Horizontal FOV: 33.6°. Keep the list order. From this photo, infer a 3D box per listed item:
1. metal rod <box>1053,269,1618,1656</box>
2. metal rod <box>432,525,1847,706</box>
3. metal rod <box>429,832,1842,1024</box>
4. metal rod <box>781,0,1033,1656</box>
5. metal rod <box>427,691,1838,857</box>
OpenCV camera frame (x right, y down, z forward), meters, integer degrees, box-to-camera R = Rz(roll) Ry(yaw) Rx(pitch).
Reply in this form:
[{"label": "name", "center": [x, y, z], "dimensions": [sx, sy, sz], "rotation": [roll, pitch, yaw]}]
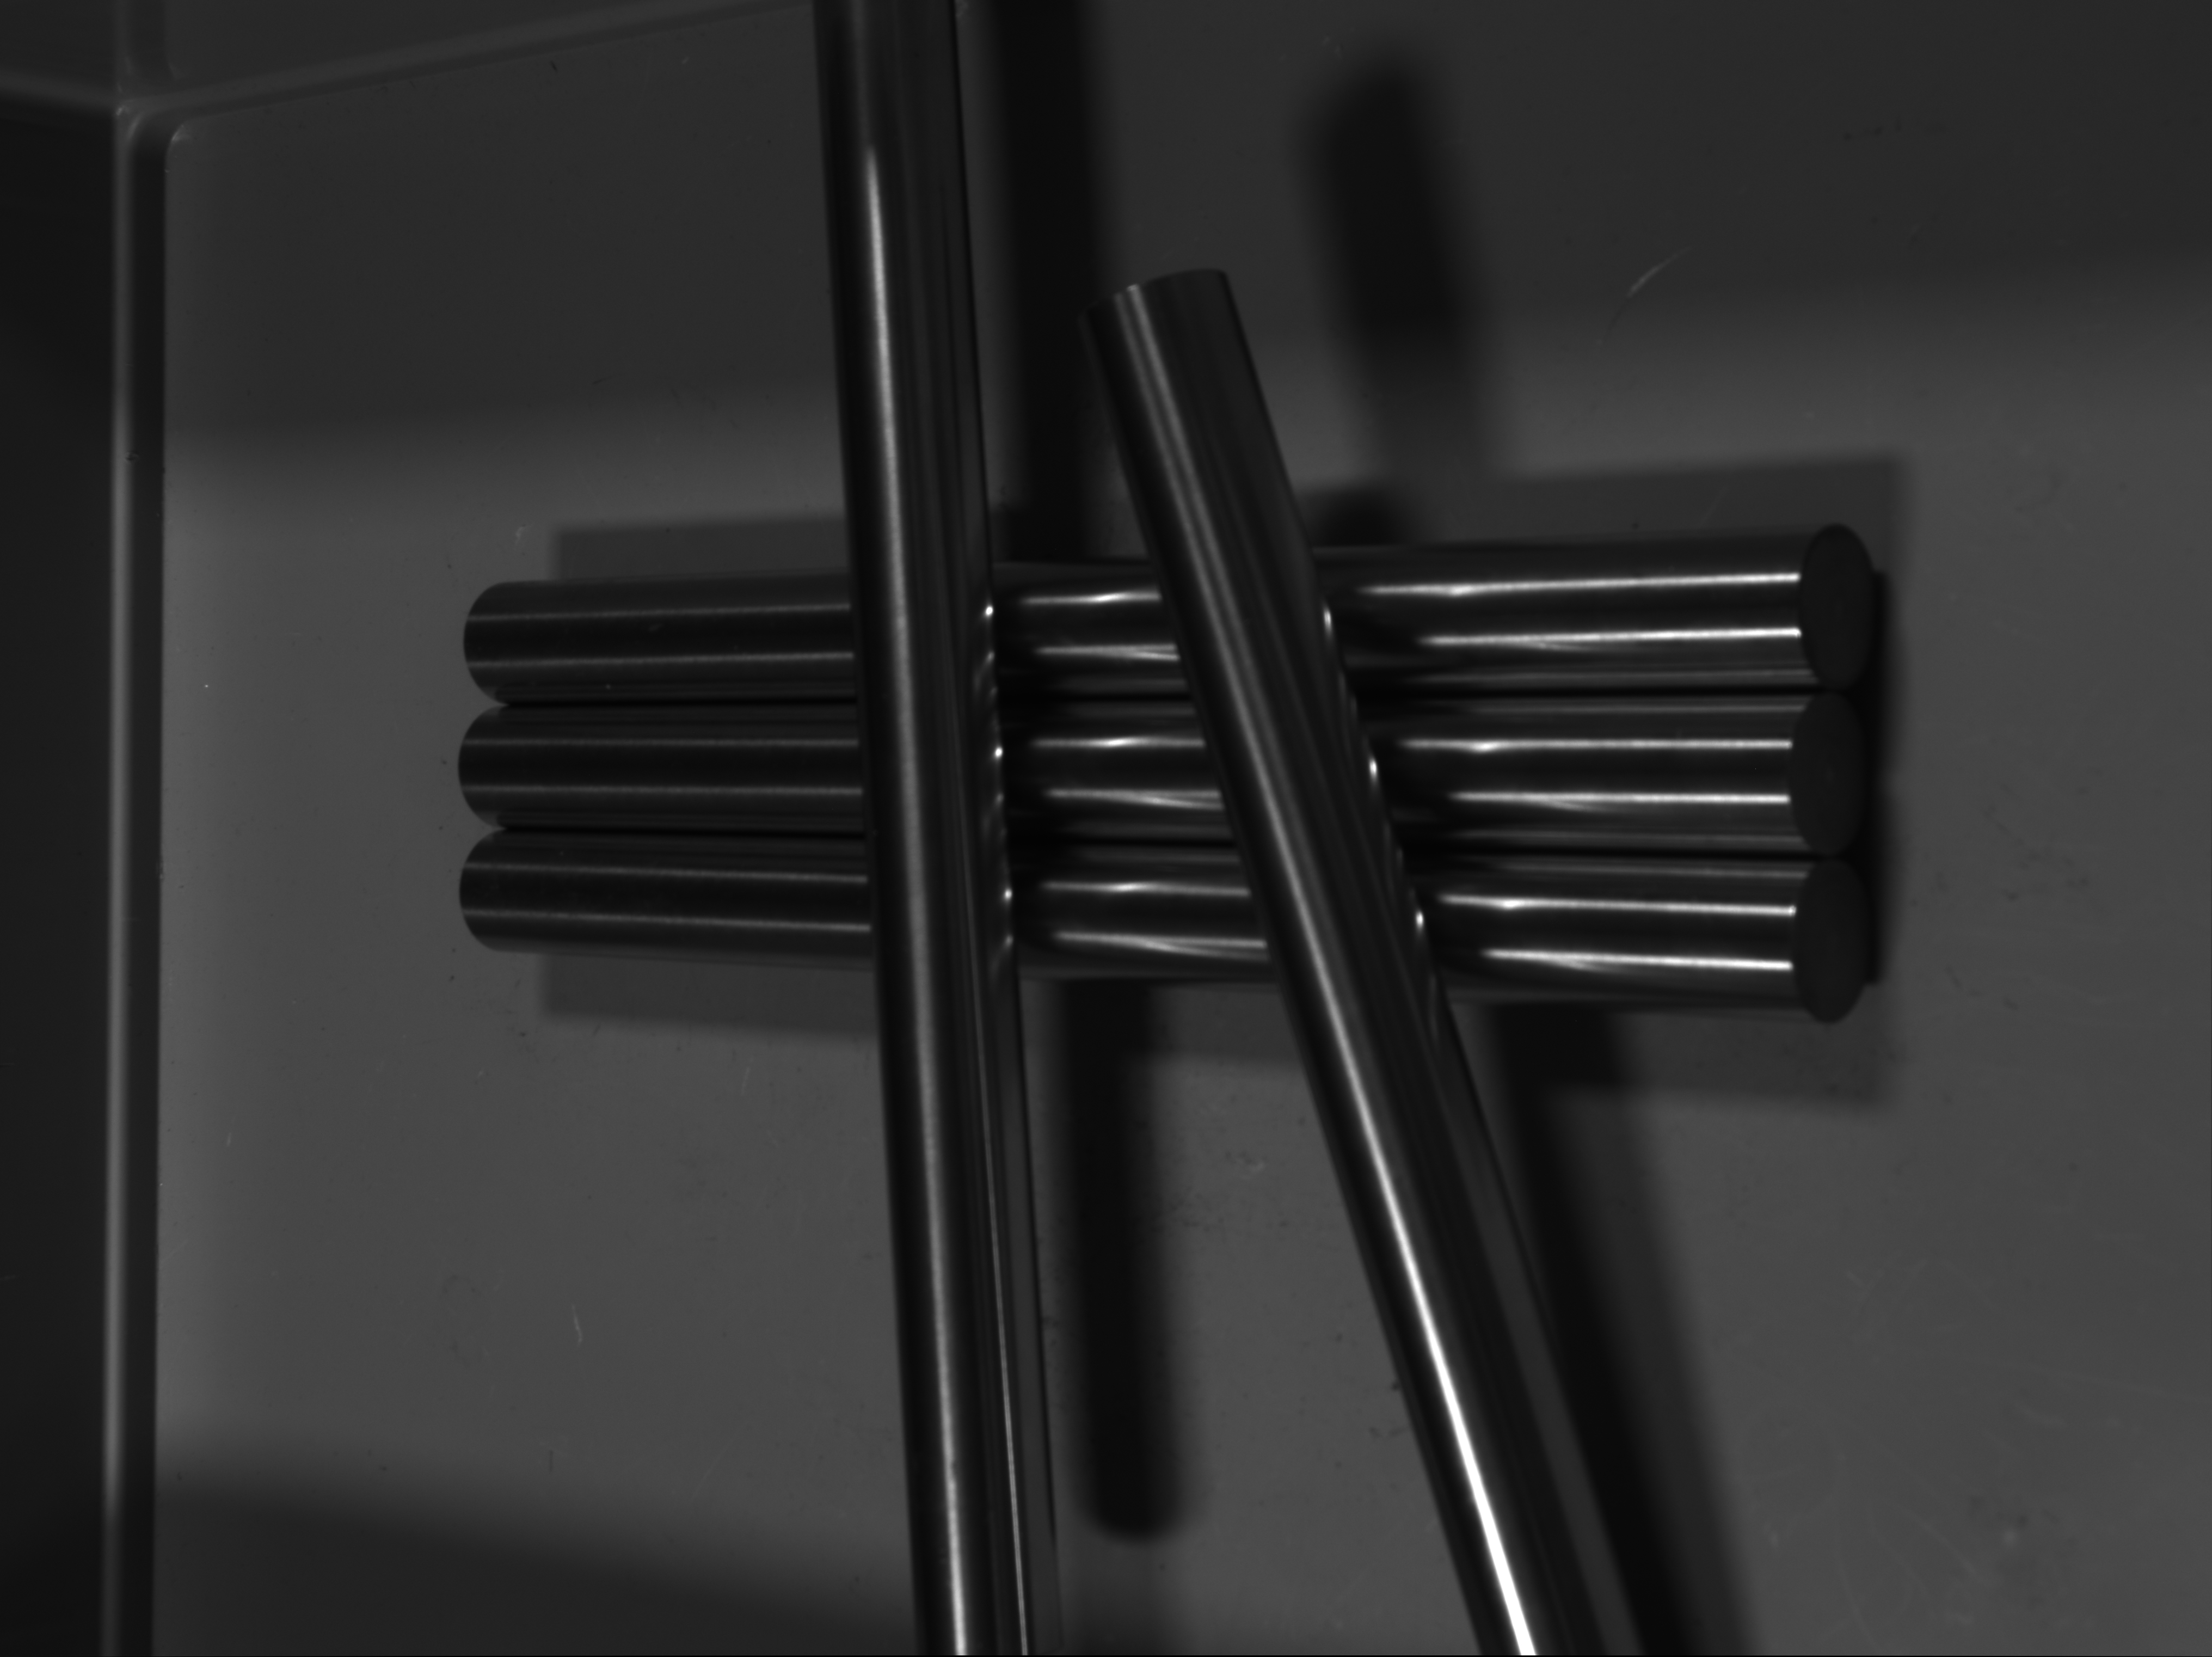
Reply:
[{"label": "metal rod", "center": [0.046, 0.059, 0.572], "dimensions": [0.025, 0.025, 0.300], "rotation": [-20, 84, 38]}, {"label": "metal rod", "center": [-0.011, -0.035, 0.644], "dimensions": [0.299, 0.025, 0.025], "rotation": [1, 90, 39]}, {"label": "metal rod", "center": [-0.011, 0.015, 0.644], "dimensions": [0.299, 0.025, 0.025], "rotation": [1, 90, 39]}, {"label": "metal rod", "center": [-0.035, -0.009, 0.631], "dimensions": [0.025, 0.025, 0.300], "rotation": [-7, 86, 39]}, {"label": "metal rod", "center": [-0.012, -0.010, 0.645], "dimensions": [0.299, 0.025, 0.025], "rotation": [1, 90, 39]}]
